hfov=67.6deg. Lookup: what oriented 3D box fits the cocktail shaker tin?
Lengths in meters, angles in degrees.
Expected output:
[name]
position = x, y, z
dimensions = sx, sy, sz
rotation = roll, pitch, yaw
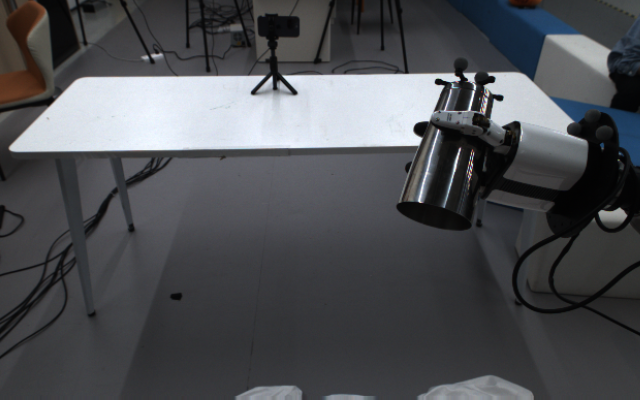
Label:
[cocktail shaker tin]
position = 0.164, -0.058, 0.602
dimensions = 0.093, 0.093, 0.170
rotation = 15, 75, 18
